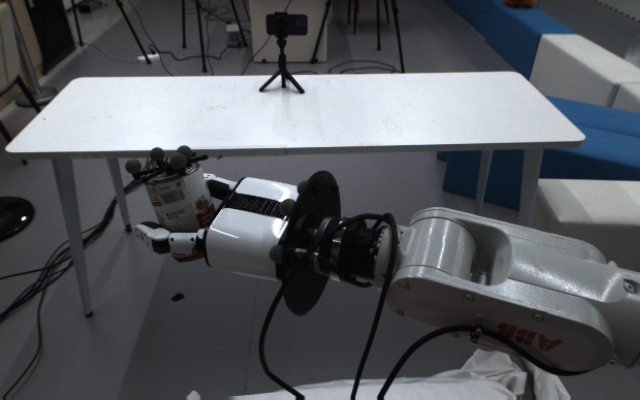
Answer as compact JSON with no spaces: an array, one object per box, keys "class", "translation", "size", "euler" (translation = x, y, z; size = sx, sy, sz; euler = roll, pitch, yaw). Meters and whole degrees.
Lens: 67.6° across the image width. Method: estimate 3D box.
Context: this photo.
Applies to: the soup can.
[{"class":"soup can","translation":[-0.156,0.014,0.568],"size":[0.067,0.101,0.067],"euler":[-13,20,5]}]
